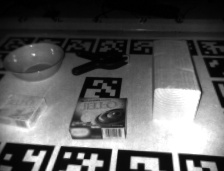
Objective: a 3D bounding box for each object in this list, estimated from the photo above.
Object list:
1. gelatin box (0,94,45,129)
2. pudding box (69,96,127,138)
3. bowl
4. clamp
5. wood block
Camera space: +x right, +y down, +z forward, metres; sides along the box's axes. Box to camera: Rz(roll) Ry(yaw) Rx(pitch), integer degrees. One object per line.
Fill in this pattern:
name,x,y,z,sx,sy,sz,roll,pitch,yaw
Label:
gelatin box,-0.211,0.055,0.488,0.089,0.030,0.073,7,44,11
pudding box,-0.027,0.065,0.462,0.113,0.039,0.089,-1,45,6
bowl,-0.219,-0.062,0.614,0.161,0.055,0.161,-1,44,1
clamp,-0.054,-0.078,0.639,0.165,0.037,0.121,-4,41,-5
wood block,0.141,-0.028,0.518,0.089,0.091,0.206,4,42,7
